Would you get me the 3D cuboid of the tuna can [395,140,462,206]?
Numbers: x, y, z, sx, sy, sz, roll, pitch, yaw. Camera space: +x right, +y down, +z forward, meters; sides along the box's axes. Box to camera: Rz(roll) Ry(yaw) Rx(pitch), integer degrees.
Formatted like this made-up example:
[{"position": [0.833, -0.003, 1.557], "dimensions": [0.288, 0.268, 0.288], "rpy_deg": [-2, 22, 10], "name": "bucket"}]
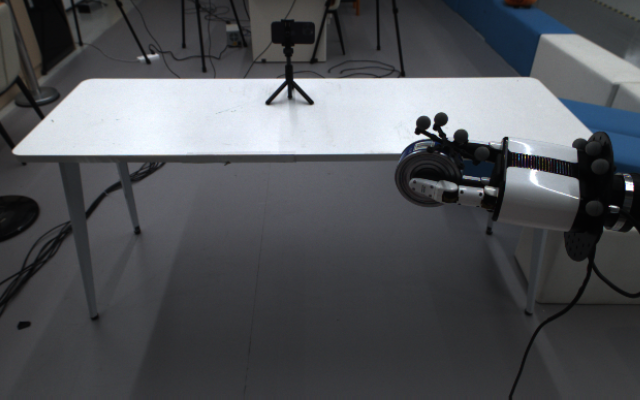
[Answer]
[{"position": [0.142, -0.035, 0.625], "dimensions": [0.085, 0.085, 0.034], "rpy_deg": [12, 35, 14], "name": "tuna can"}]
